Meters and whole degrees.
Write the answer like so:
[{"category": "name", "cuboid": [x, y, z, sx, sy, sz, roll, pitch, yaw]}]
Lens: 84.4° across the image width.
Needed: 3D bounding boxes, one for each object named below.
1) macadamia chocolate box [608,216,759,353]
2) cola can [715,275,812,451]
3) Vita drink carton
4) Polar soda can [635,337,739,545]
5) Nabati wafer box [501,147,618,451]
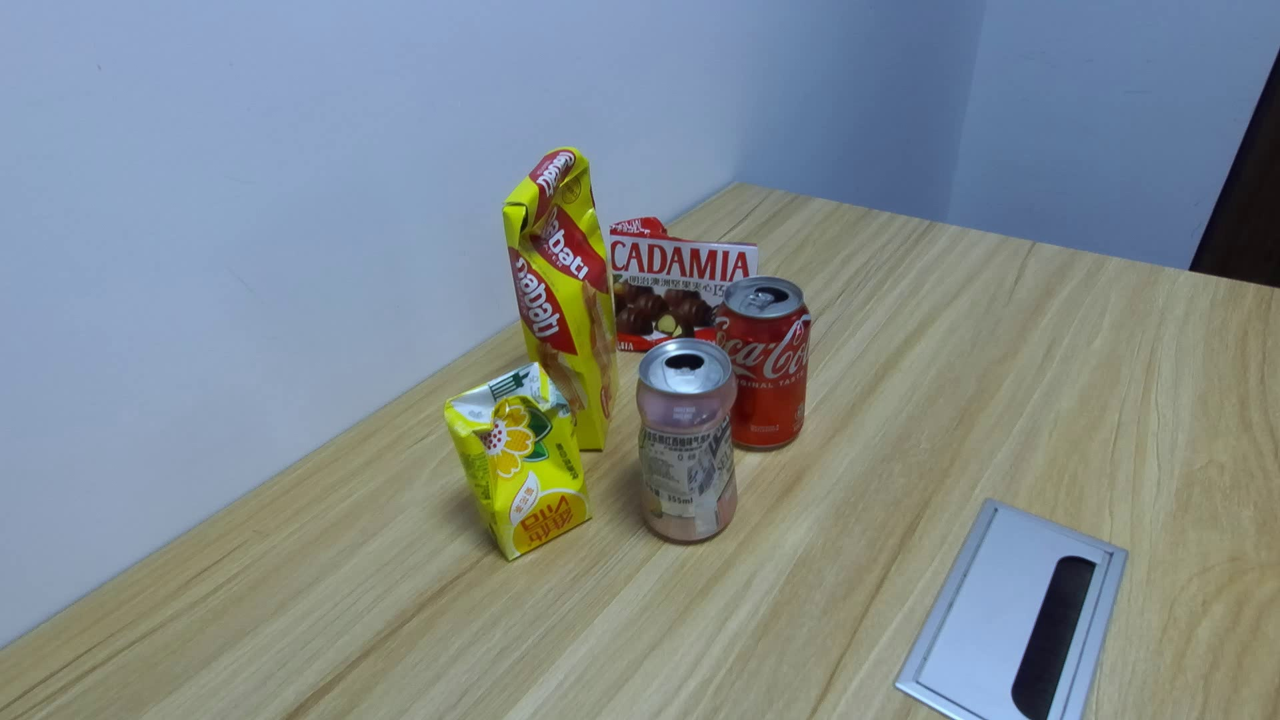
[{"category": "macadamia chocolate box", "cuboid": [0.039, -0.064, 0.615, 0.126, 0.112, 0.056, 7, 37, 15]}, {"category": "cola can", "cuboid": [0.089, 0.002, 0.513, 0.068, 0.120, 0.067, -3, 35, 2]}, {"category": "Vita drink carton", "cuboid": [-0.074, 0.066, 0.452, 0.071, 0.110, 0.046, -24, 36, -22]}, {"category": "Polar soda can", "cuboid": [0.032, 0.052, 0.447, 0.074, 0.122, 0.067, -23, 39, -22]}, {"category": "Nabati wafer box", "cuboid": [-0.050, -0.038, 0.510, 0.042, 0.205, 0.113, 0, 37, 11]}]
